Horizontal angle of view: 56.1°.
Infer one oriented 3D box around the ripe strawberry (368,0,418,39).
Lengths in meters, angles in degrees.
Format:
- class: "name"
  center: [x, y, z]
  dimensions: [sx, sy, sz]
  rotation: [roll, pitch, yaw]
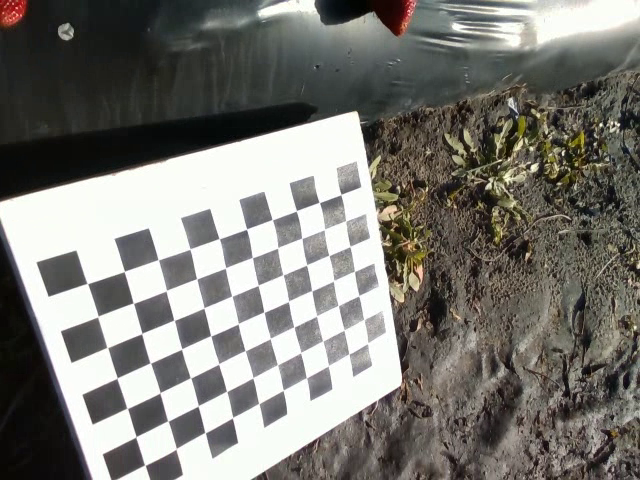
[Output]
- class: "ripe strawberry"
  center: [0.053, -0.181, 0.456]
  dimensions: [0.042, 0.059, 0.042]
  rotation: [5, -8, -41]
